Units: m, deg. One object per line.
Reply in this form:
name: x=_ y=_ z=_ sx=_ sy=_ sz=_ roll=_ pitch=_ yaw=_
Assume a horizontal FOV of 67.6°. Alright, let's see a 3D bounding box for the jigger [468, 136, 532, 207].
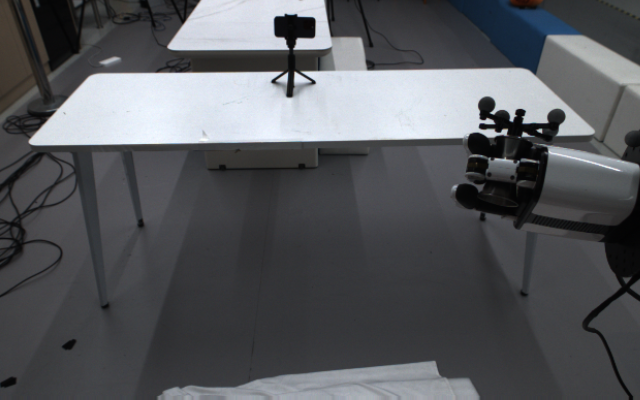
jigger: x=0.202 y=-0.031 z=0.523 sx=0.043 sy=0.071 sz=0.043 roll=16 pitch=-7 yaw=2
